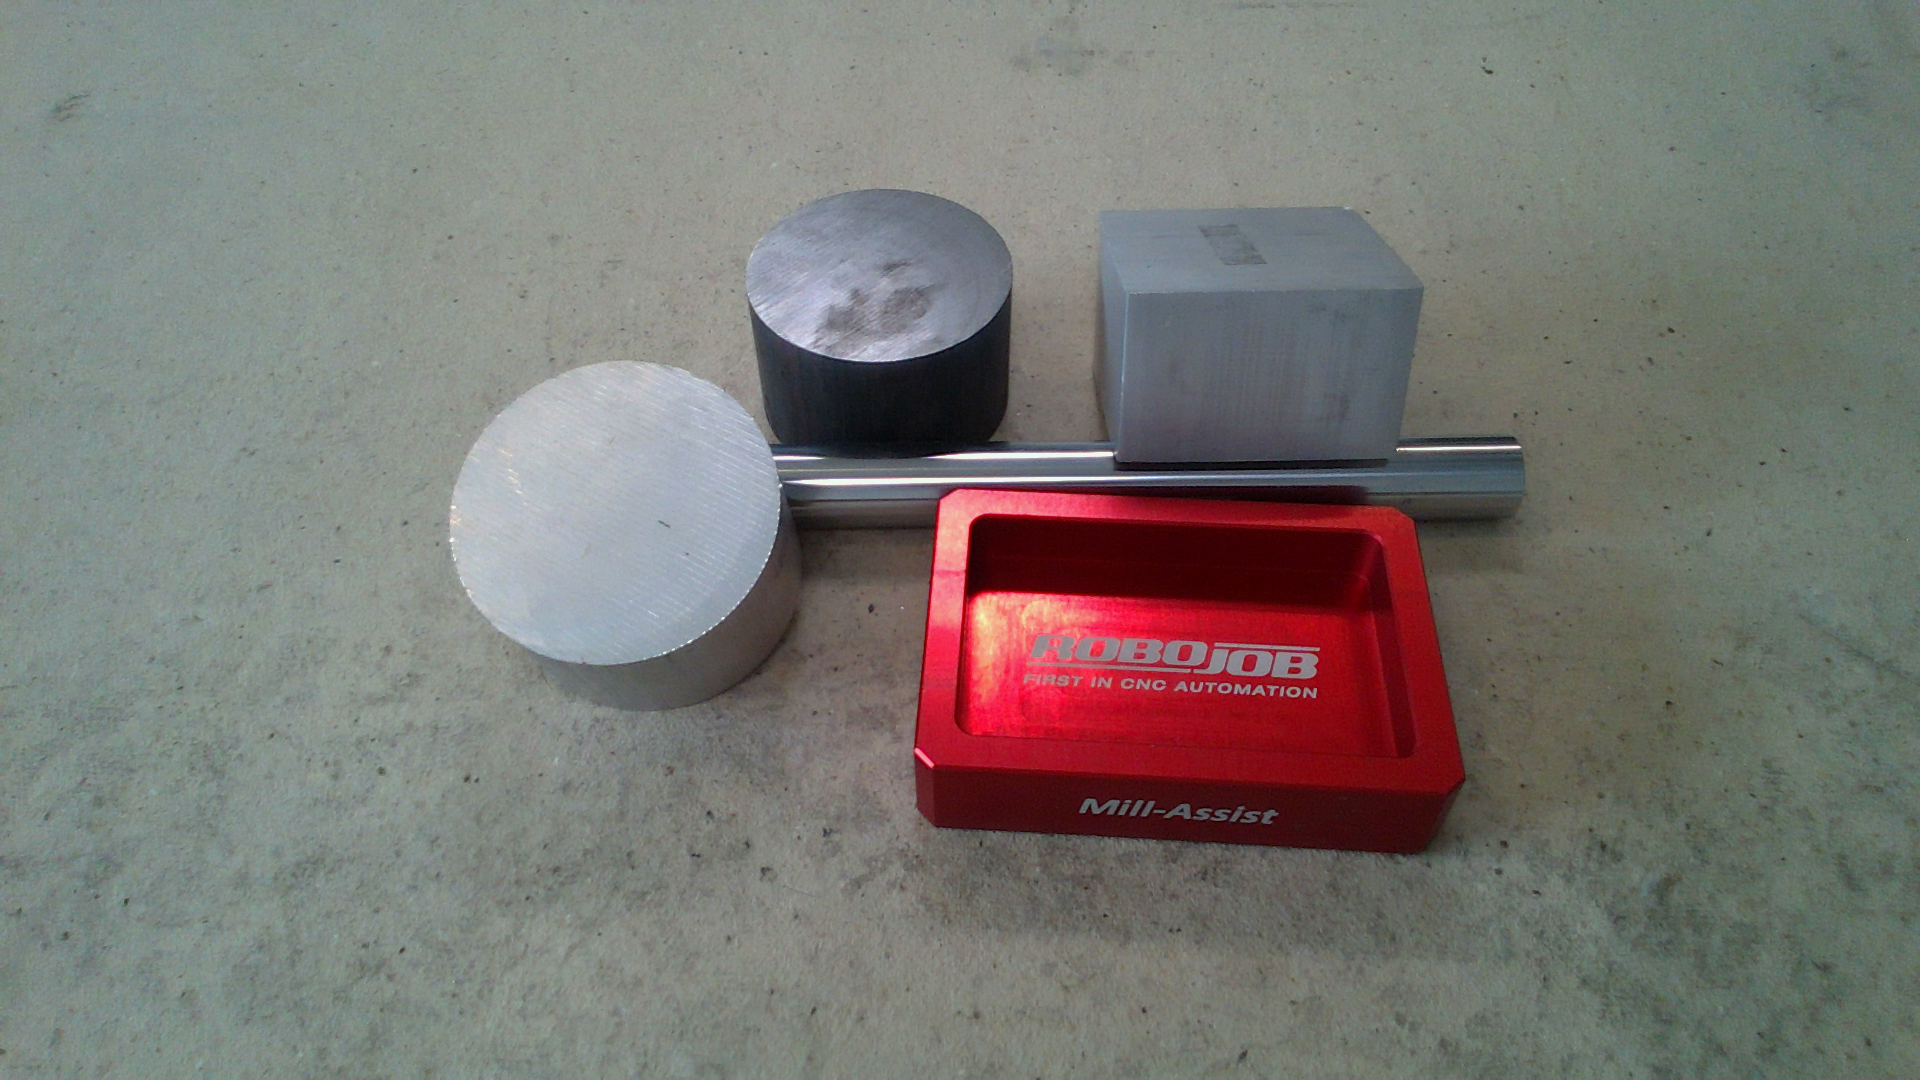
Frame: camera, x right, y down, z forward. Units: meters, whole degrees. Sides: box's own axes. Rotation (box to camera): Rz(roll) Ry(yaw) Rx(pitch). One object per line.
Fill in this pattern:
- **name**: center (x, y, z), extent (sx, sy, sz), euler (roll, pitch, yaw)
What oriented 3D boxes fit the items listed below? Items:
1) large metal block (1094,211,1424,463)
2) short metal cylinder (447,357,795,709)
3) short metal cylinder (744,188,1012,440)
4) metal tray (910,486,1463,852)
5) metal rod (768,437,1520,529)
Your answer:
- **large metal block**: center (0.083, -0.063, 0.413), extent (0.080, 0.050, 0.080), euler (-1, 29, 0)
- **short metal cylinder**: center (-0.085, 0.000, 0.359), extent (0.080, 0.050, 0.080), euler (0, 70, -1)
- **short metal cylinder**: center (-0.024, -0.065, 0.430), extent (0.080, 0.050, 0.080), euler (0, 49, 0)
- **metal tray**: center (0.056, 0.031, 0.361), extent (0.130, 0.030, 0.090), euler (3, 50, 2)
- **metal rod**: center (0.011, -0.017, 0.407), extent (0.300, 0.025, 0.025), euler (-1, 50, -1)
